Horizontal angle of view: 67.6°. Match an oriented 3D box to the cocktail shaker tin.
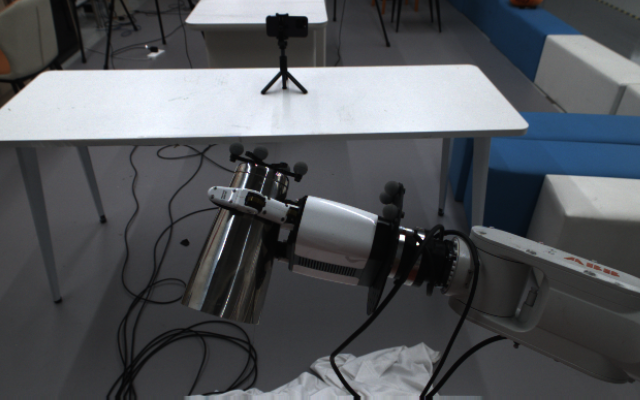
[{"bbox_3d":[-0.087,0.046,0.563,0.093,0.093,0.170,13,79,15],"label":"cocktail shaker tin"}]
